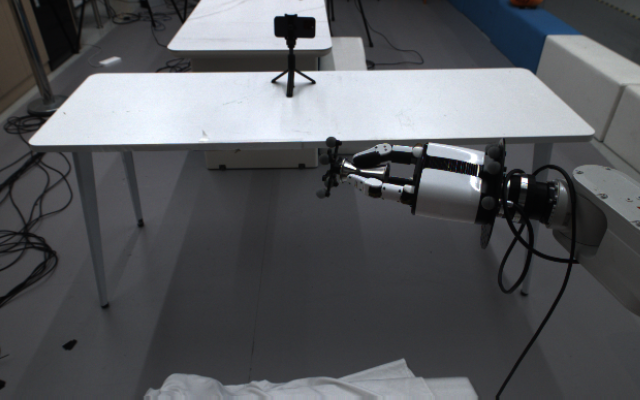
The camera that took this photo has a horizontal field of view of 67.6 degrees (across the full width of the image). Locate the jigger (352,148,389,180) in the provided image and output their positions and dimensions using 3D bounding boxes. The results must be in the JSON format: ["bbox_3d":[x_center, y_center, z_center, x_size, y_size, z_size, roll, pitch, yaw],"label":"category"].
[{"bbox_3d":[0.074,-0.043,0.732,0.071,0.043,0.043,11,36,15],"label":"jigger"}]
